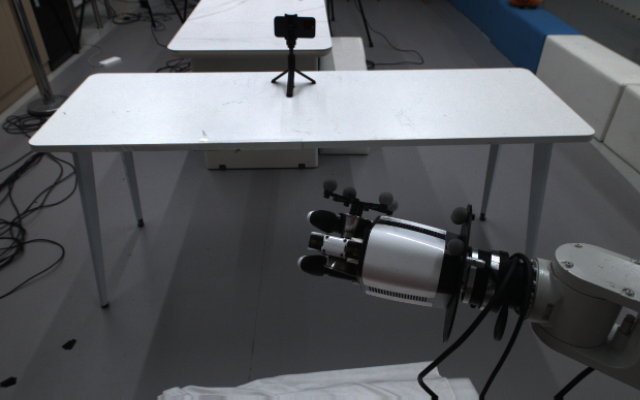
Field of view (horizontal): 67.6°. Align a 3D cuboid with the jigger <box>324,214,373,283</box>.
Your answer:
[{"bbox_3d":[0.036,0.053,0.582,0.043,0.071,0.043,16,-7,2],"label":"jigger"}]
